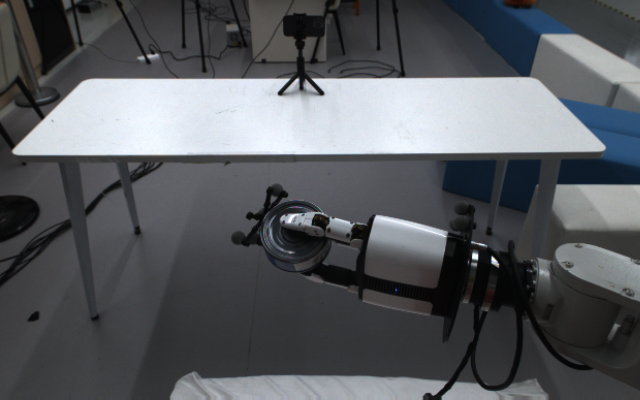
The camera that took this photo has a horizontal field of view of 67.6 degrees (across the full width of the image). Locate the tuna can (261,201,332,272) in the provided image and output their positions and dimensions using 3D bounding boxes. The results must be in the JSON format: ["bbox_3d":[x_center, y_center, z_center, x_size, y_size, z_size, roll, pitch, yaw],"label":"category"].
[{"bbox_3d":[-0.025,0.047,0.586,0.085,0.034,0.085,-1,61,2],"label":"tuna can"}]
